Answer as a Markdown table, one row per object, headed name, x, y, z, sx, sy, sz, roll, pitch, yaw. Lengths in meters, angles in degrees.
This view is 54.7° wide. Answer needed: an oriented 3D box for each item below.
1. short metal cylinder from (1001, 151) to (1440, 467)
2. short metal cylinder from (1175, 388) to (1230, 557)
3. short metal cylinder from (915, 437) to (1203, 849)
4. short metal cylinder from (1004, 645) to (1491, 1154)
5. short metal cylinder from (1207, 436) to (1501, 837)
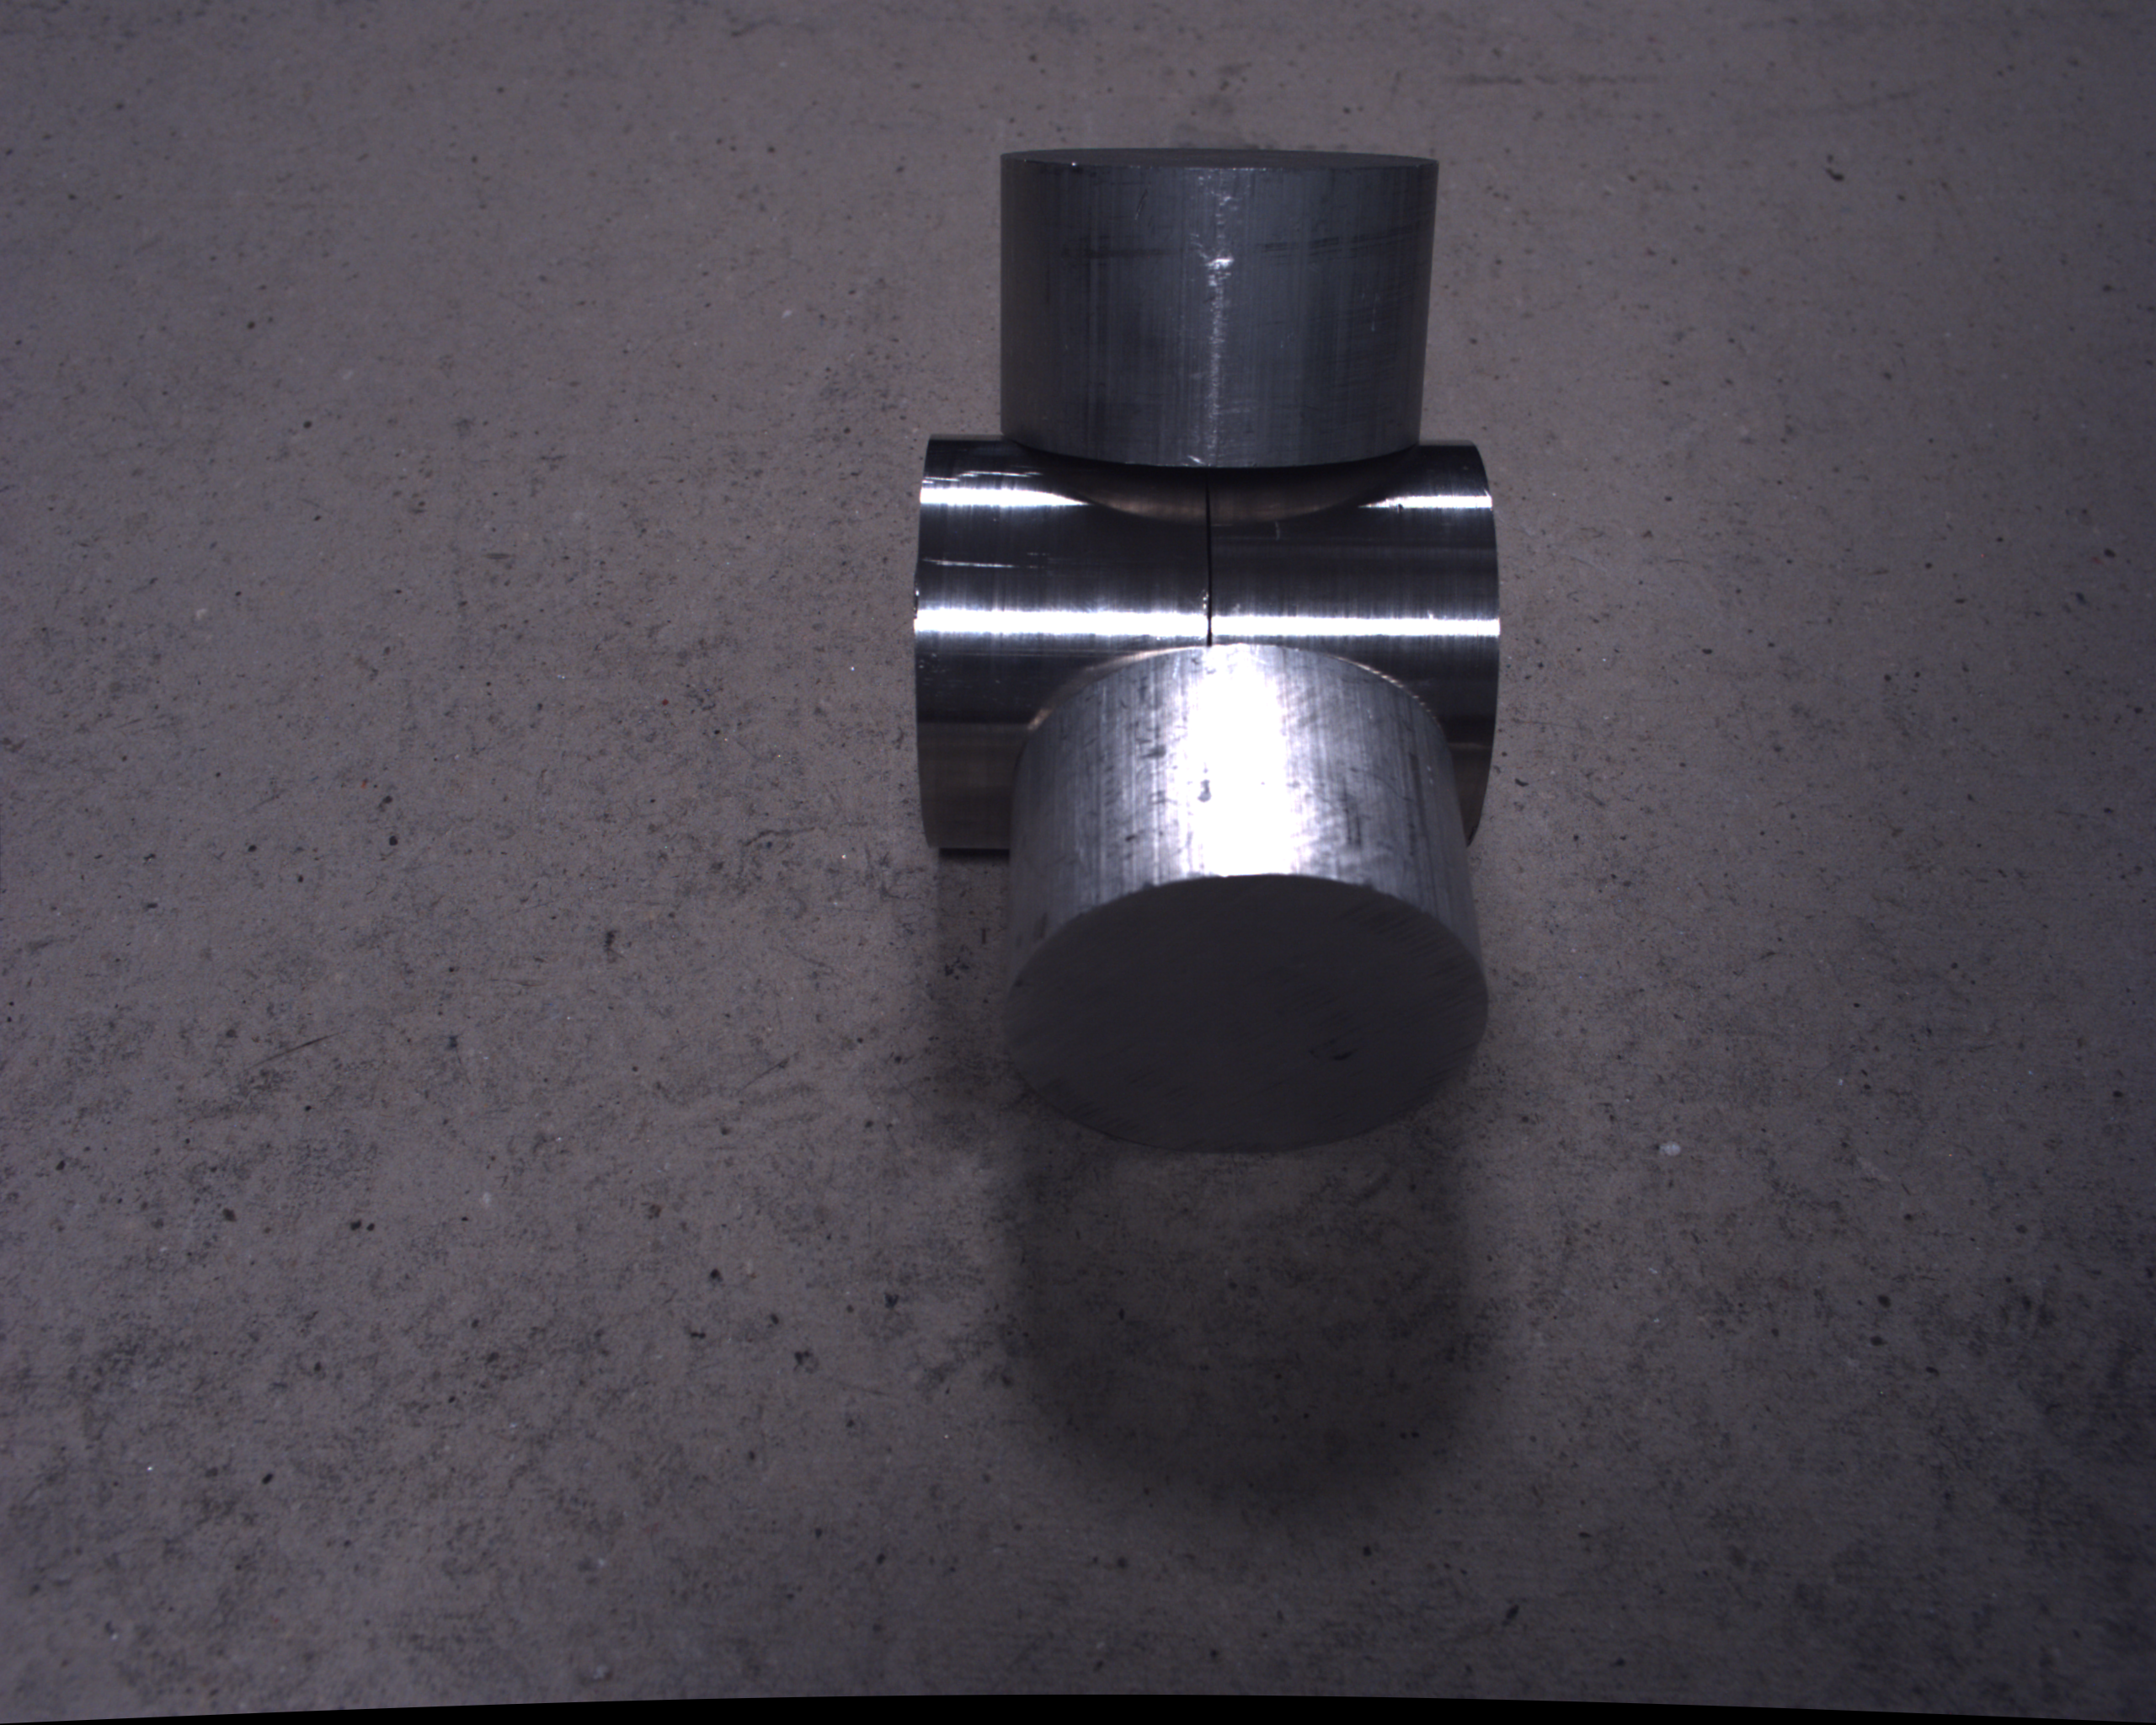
| name | x | y | z | sx | sy | sz | roll | pitch | yaw |
| --- | --- | --- | --- | --- | --- | --- | --- | --- | --- |
| short metal cylinder | 0.026 | -0.107 | 0.393 | 0.081 | 0.050 | 0.080 | 1 | 22 | 0 |
| short metal cylinder | 0.031 | -0.093 | 0.468 | 0.081 | 0.050 | 0.080 | 0 | 50 | 0 |
| short metal cylinder | -0.003 | -0.042 | 0.405 | 0.050 | 0.080 | 0.080 | 1 | 50 | 0 |
| short metal cylinder | 0.028 | 0.008 | 0.363 | 0.081 | 0.080 | 0.050 | 0 | 50 | 0 |
| short metal cylinder | 0.049 | -0.042 | 0.404 | 0.050 | 0.080 | 0.080 | 0 | 50 | 0 |
